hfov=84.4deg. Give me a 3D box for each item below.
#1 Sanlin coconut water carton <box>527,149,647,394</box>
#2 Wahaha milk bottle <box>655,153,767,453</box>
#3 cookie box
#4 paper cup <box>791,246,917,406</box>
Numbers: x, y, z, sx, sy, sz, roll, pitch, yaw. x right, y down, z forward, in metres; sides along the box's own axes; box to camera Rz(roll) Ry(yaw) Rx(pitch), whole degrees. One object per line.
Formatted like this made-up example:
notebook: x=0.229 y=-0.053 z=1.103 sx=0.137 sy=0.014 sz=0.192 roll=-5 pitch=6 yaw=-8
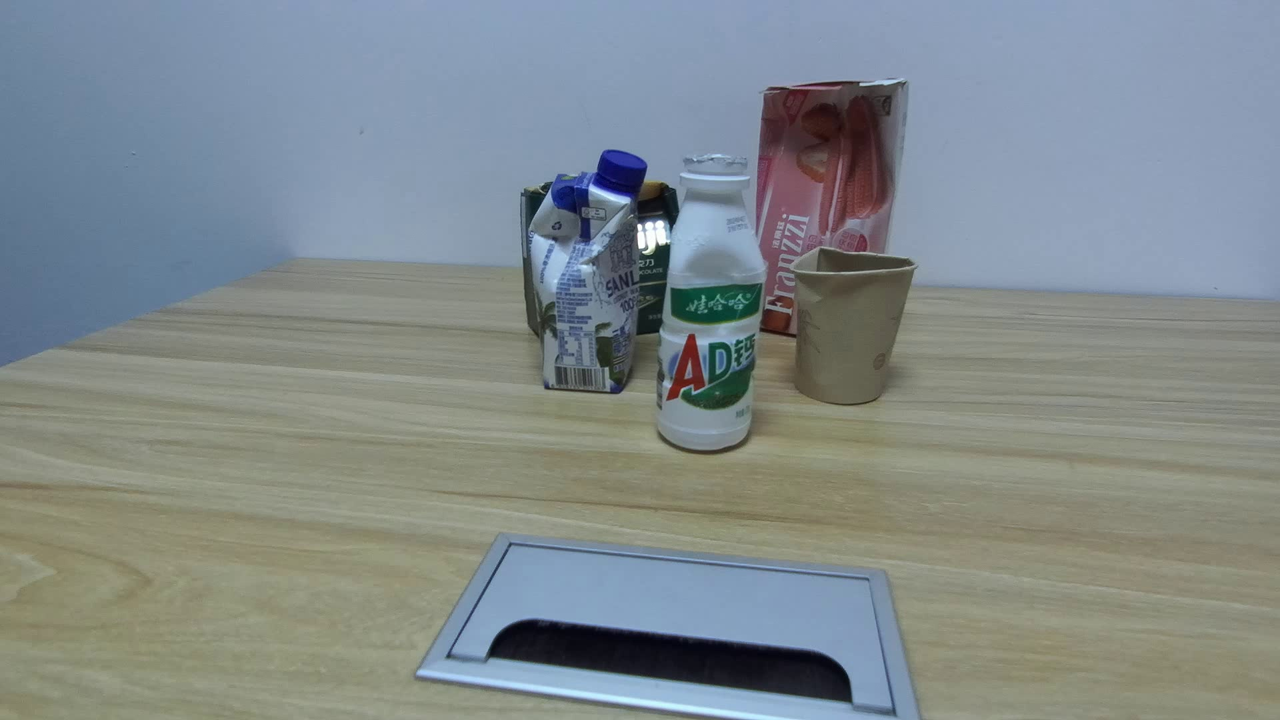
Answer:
Sanlin coconut water carton: x=-0.031 y=-0.054 z=0.435 sx=0.070 sy=0.144 sz=0.061 roll=5 pitch=23 yaw=9
Wahaha milk bottle: x=0.036 y=-0.028 z=0.363 sx=0.055 sy=0.149 sz=0.055 roll=0 pitch=20 yaw=0
cookie box: x=0.131 y=-0.106 z=0.517 sx=0.118 sy=0.184 sz=0.056 roll=14 pitch=25 yaw=34
paper cup: x=0.125 y=-0.020 z=0.429 sx=0.071 sy=0.084 sz=0.066 roll=9 pitch=22 yaw=23
